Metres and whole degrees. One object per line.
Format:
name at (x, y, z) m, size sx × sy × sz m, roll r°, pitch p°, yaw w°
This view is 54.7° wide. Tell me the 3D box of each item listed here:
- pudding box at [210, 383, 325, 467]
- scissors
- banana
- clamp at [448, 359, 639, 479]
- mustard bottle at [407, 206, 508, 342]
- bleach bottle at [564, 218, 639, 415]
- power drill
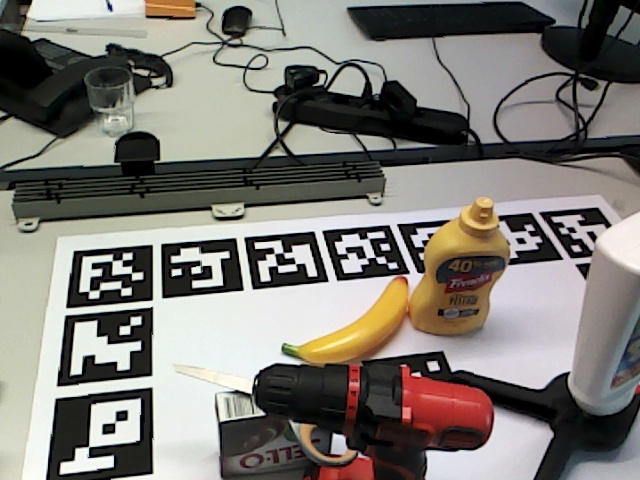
pudding box at (-0.051, 0.182, 0.612) m, size 0.113 × 0.090 × 0.039 m, roll -1°, pitch 36°, yaw -7°
scissors at (-0.056, 0.131, 0.572) m, size 0.203 × 0.016 × 0.088 m, roll 16°, pitch 47°, yaw 5°
banana at (0.052, 0.084, 0.757) m, size 0.075 × 0.039 × 0.196 m, roll 18°, pitch 42°, yaw 38°
clamp at (0.261, 0.182, 0.660) m, size 0.202 × 0.036 × 0.166 m, roll -8°, pitch 46°, yaw -16°
mustard bottle at (0.165, 0.039, 0.721) m, size 0.096 × 0.191 × 0.058 m, roll 6°, pitch 42°, yaw -1°
bleach bottle at (0.300, 0.092, 0.607) m, size 0.102 × 0.250 × 0.068 m, roll -23°, pitch 45°, yaw -18°
power drill at (0.028, 0.179, 0.510) m, size 0.184 × 0.186 × 0.057 m, roll 3°, pitch 36°, yaw 2°
